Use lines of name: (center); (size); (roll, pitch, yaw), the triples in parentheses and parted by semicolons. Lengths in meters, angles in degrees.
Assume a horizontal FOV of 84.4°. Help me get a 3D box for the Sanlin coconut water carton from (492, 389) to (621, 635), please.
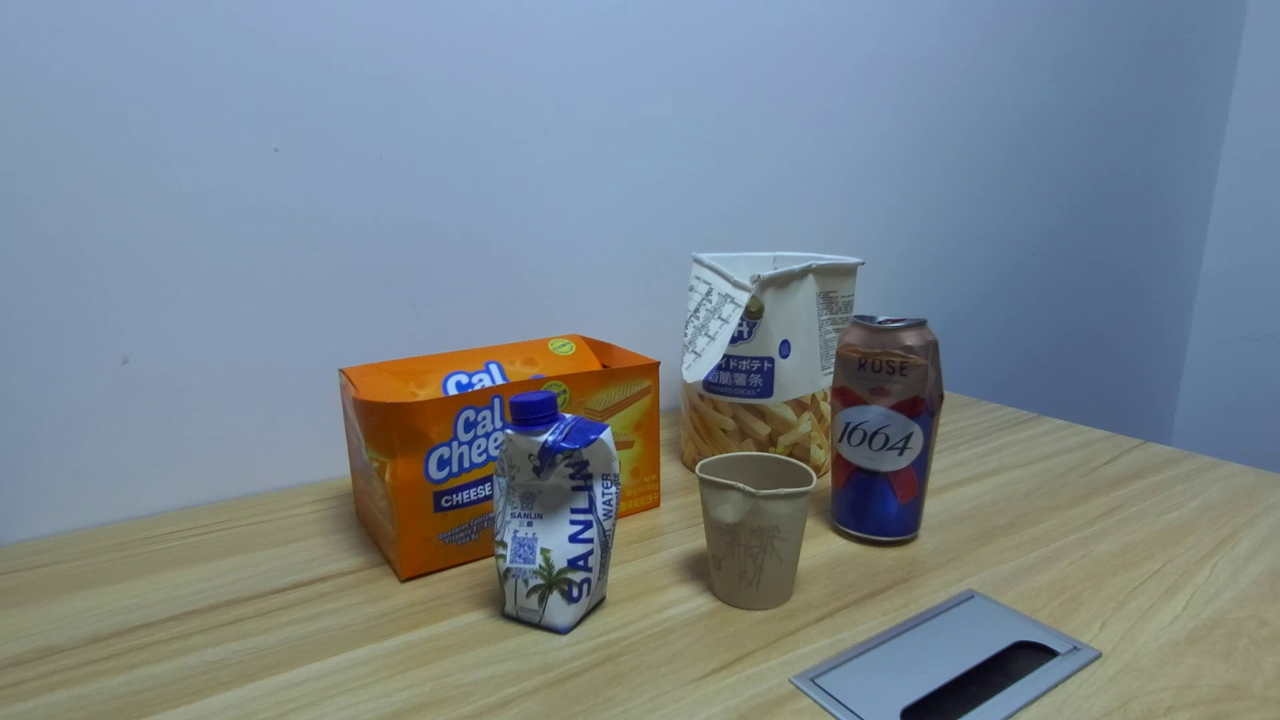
Sanlin coconut water carton: (-0.052, 0.093, 0.428); (0.068, 0.144, 0.057); (14, 25, 26)

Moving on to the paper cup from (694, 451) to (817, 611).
paper cup: (0.073, 0.110, 0.459); (0.073, 0.081, 0.068); (-5, 14, -16)

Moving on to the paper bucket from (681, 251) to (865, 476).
paper bucket: (0.108, 0.000, 0.683); (0.170, 0.202, 0.162); (-10, 14, -40)

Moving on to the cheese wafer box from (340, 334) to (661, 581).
cheese wafer box: (-0.113, 0.067, 0.579); (0.231, 0.132, 0.151); (-8, 16, -32)

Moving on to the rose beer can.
rose beer can: (0.183, 0.050, 0.531); (0.065, 0.167, 0.075); (-11, 15, -43)
